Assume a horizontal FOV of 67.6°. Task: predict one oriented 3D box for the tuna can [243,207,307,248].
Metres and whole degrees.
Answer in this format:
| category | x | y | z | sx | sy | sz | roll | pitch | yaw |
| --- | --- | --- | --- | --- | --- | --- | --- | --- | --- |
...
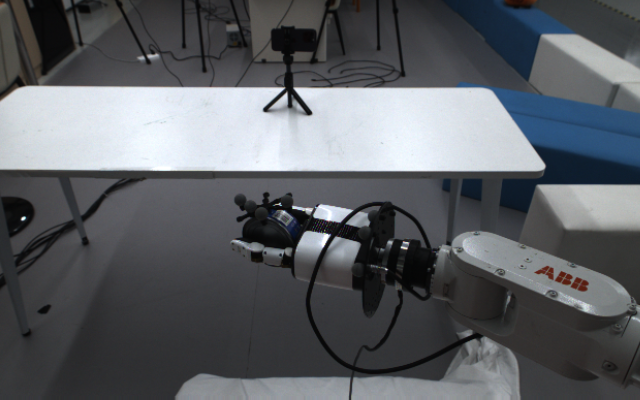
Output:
| category | x | y | z | sx | sy | sz | roll | pitch | yaw |
| --- | --- | --- | --- | --- | --- | --- | --- | --- | --- |
| tuna can | -0.065 | 0.052 | 0.696 | 0.085 | 0.085 | 0.034 | 17 | 36 | 20 |
